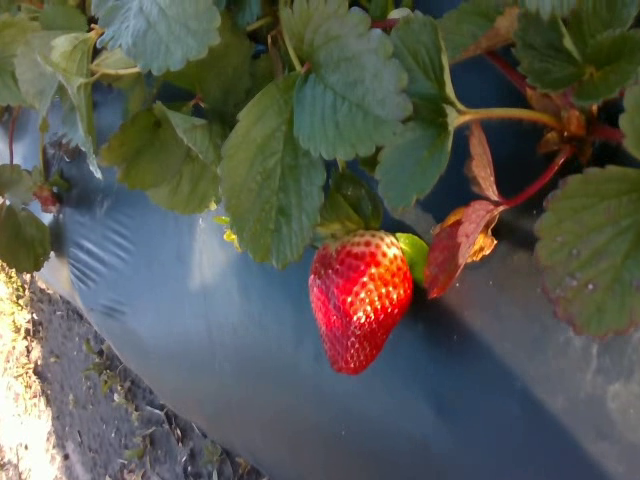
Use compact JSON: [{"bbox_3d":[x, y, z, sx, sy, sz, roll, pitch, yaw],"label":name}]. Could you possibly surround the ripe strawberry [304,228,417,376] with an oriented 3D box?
[{"bbox_3d":[0.010,0.022,0.203,0.040,0.056,0.041,14,-27,-9],"label":"ripe strawberry"}]
